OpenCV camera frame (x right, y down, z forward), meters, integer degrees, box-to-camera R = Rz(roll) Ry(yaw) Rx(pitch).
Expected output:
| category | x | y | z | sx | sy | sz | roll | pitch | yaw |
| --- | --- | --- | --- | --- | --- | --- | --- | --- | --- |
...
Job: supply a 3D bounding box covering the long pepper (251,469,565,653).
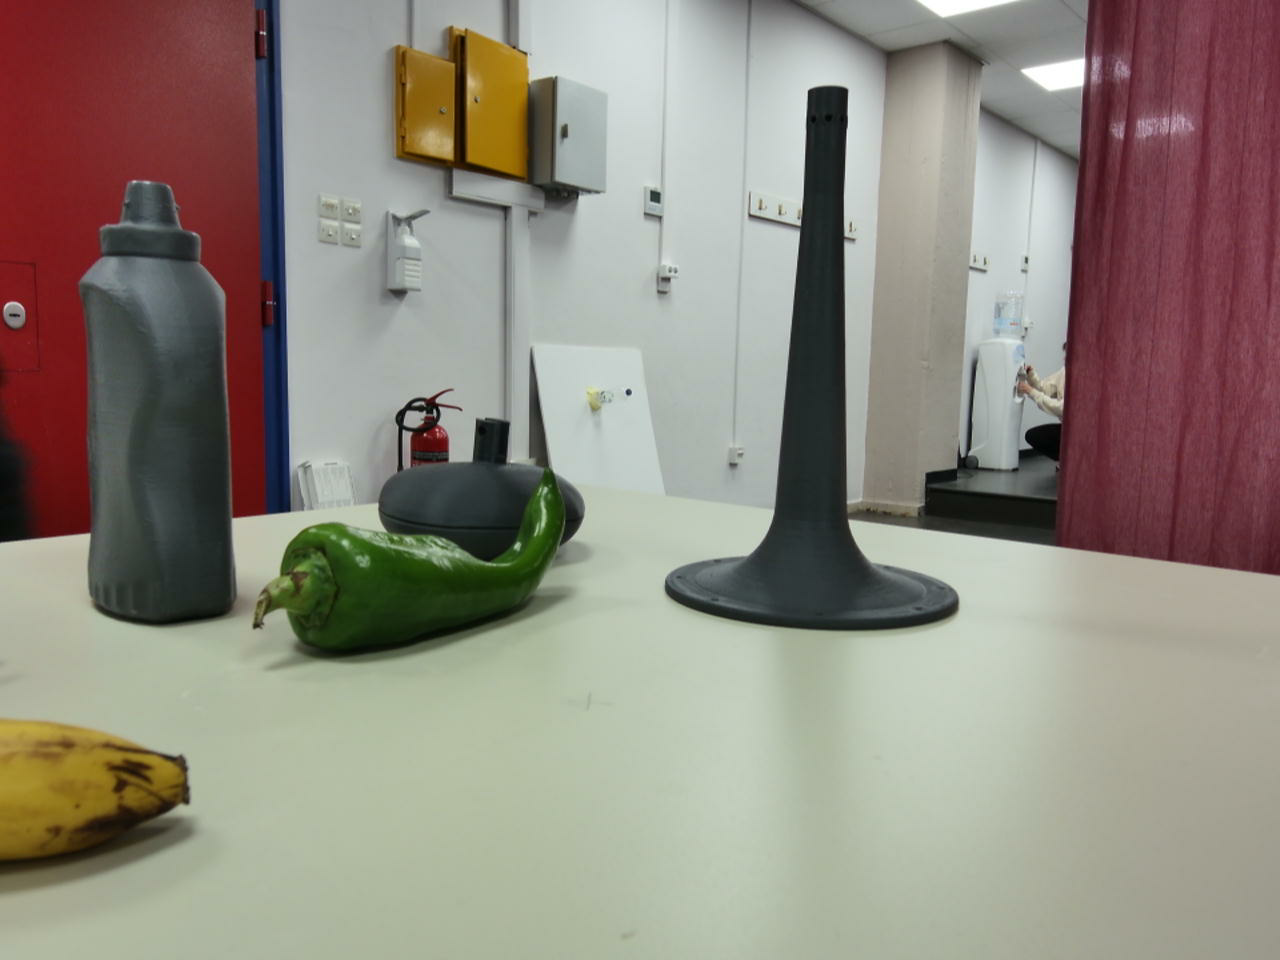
| category | x | y | z | sx | sy | sz | roll | pitch | yaw |
| --- | --- | --- | --- | --- | --- | --- | --- | --- | --- |
| long pepper | -0.089 | 0.033 | 0.438 | 0.058 | 0.065 | 0.175 | 3 | 5 | 38 |
